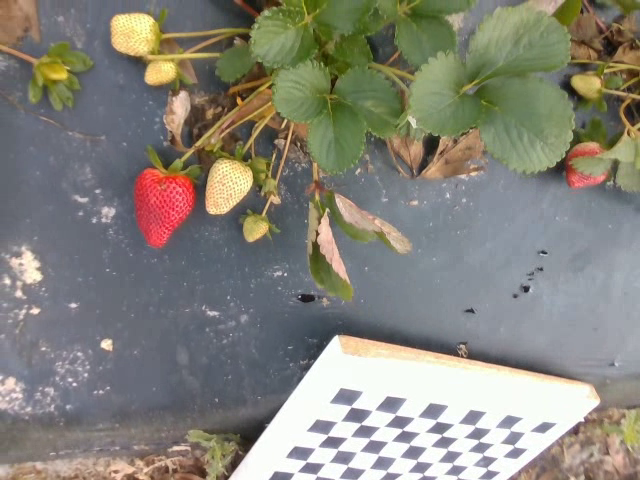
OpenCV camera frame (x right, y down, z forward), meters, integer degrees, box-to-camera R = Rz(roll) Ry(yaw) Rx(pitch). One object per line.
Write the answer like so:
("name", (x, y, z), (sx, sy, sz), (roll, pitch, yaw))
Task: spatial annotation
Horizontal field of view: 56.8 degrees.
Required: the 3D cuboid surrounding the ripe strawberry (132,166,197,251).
("ripe strawberry", (-0.108, -0.023, 0.403), (0.050, 0.059, 0.033), (7, -8, -15))
